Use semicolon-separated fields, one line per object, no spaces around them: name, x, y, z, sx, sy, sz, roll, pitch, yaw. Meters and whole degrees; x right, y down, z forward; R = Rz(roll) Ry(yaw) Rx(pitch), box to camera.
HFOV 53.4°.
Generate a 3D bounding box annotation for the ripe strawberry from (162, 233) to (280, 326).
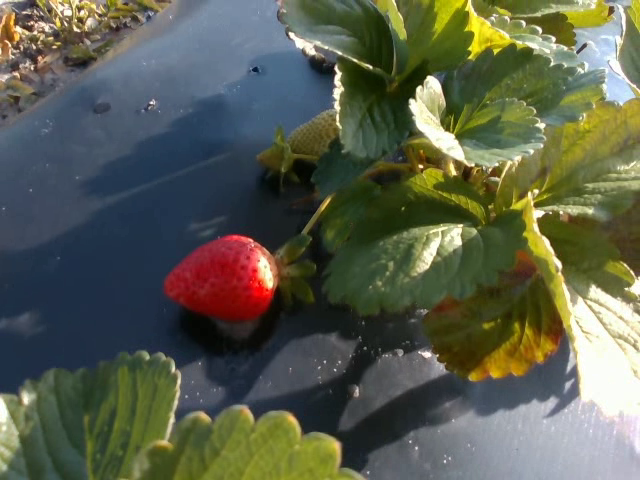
ripe strawberry;-0.034;0.014;0.203;0.044;0.033;0.030;-8;9;-16
